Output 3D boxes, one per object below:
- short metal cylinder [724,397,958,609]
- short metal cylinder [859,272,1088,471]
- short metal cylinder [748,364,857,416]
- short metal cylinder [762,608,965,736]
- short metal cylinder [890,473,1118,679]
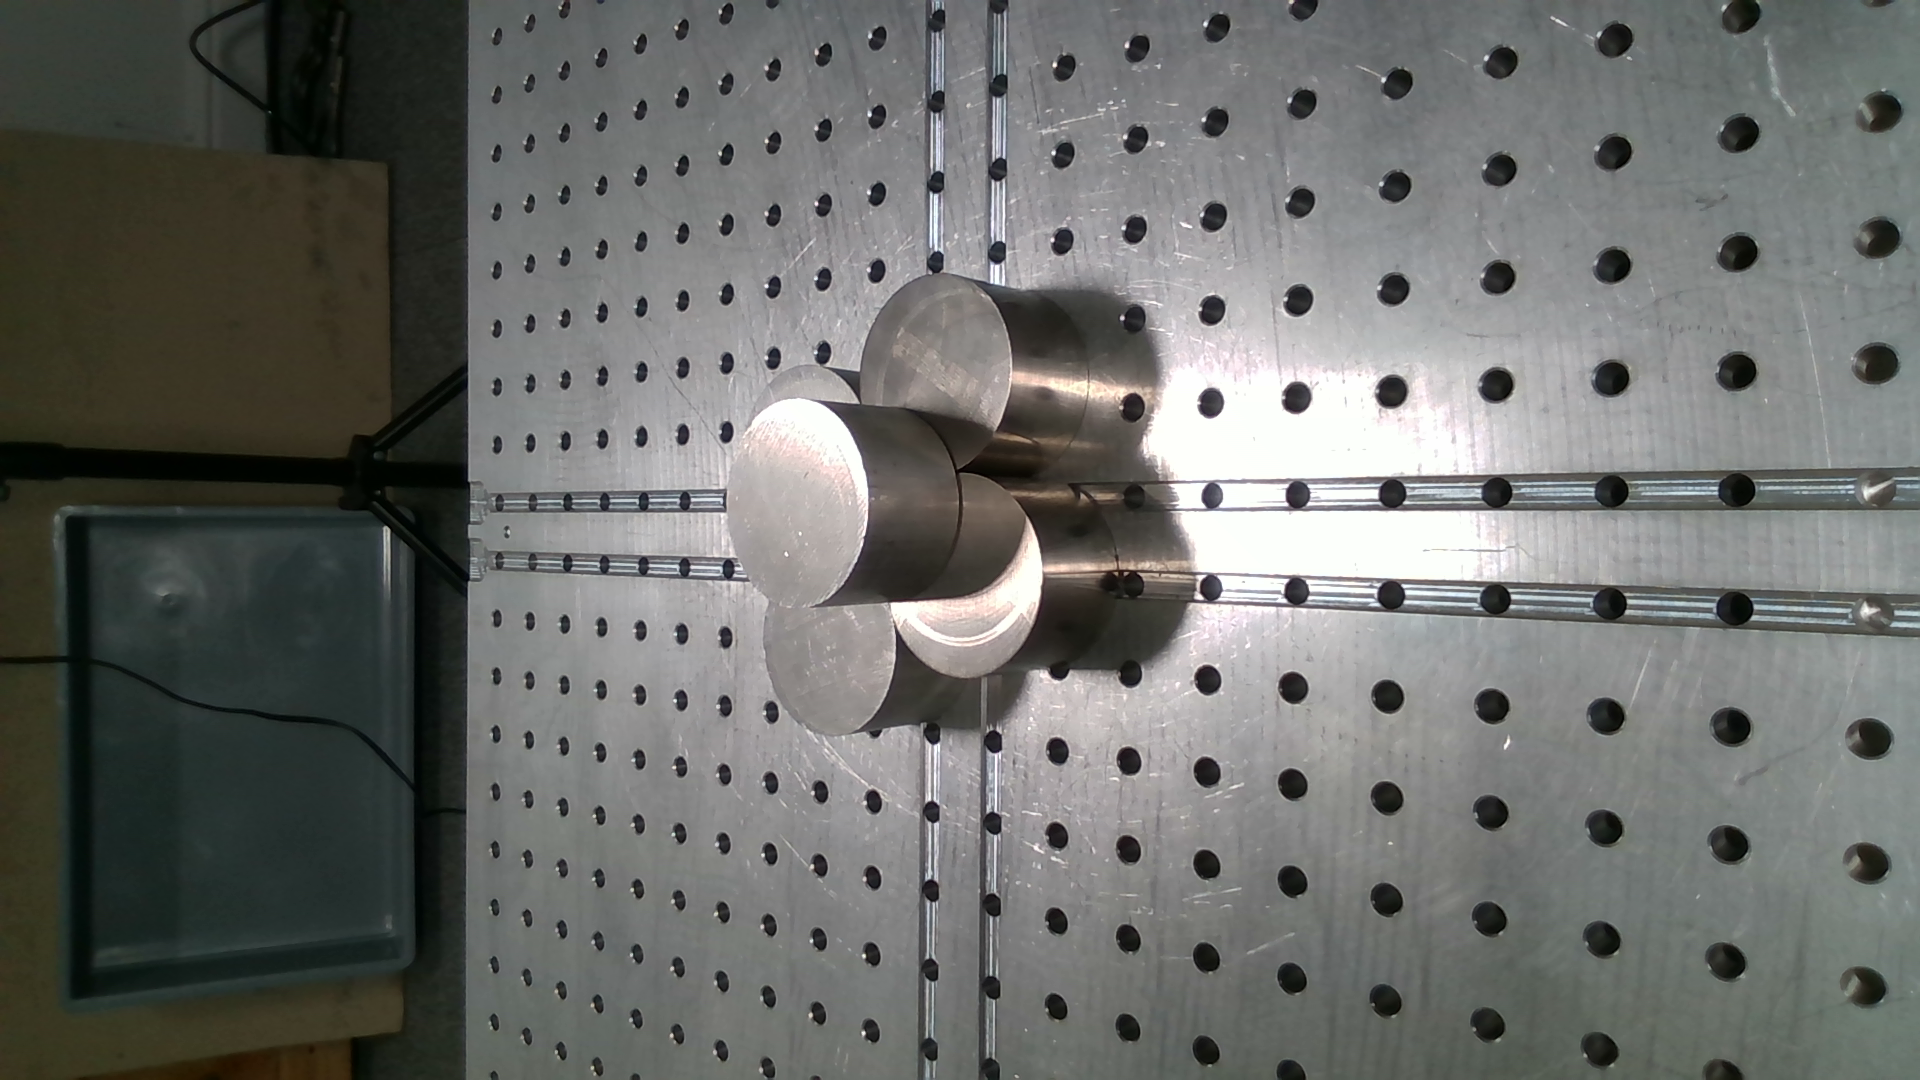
[{"bbox_3d":[-0.047,-0.014,0.541,0.080,0.050,0.080,1,92,42],"label":"short metal cylinder"},{"bbox_3d":[0.005,-0.066,0.563,0.080,0.050,0.080,0,91,40],"label":"short metal cylinder"},{"bbox_3d":[-0.052,-0.036,0.611,0.080,0.050,0.080,0,91,40],"label":"short metal cylinder"},{"bbox_3d":[-0.041,0.043,0.603,0.080,0.050,0.080,0,91,40],"label":"short metal cylinder"},{"bbox_3d":[0.016,0.014,0.554,0.080,0.050,0.080,0,91,40],"label":"short metal cylinder"}]
